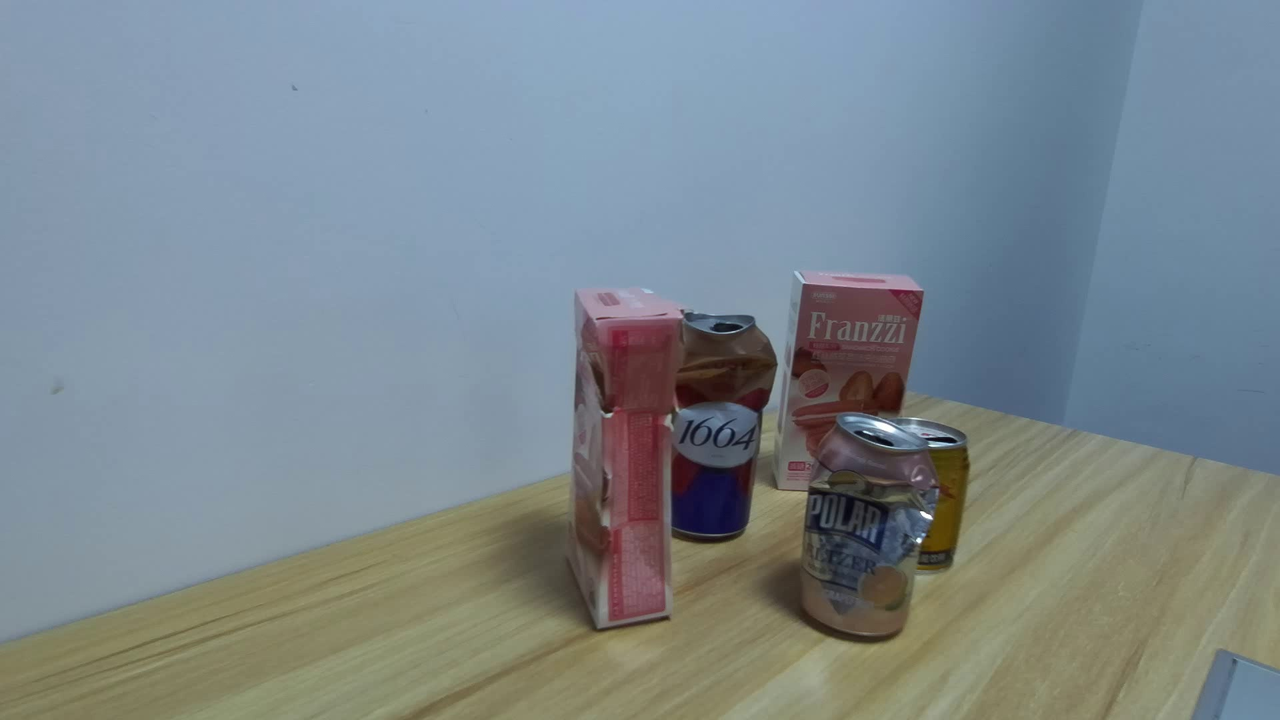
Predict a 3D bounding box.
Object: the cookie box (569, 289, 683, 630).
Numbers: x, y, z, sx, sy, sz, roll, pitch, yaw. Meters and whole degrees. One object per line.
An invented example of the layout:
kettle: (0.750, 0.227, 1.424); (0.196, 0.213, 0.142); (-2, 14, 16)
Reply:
cookie box: (-0.009, 0.055, 0.428); (0.059, 0.186, 0.104); (-2, 14, -14)

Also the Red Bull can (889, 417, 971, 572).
Red Bull can: (0.193, 0.095, 0.499); (0.069, 0.092, 0.069); (3, 12, 0)

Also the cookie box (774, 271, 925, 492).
cookie box: (0.176, 0.023, 0.594); (0.105, 0.187, 0.049); (4, 21, 5)

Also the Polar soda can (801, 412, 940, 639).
Polar soda can: (0.136, 0.098, 0.416); (0.070, 0.121, 0.067); (13, 10, 34)

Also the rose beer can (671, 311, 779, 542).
rose beer can: (0.052, 0.048, 0.519); (0.074, 0.162, 0.067); (-9, 19, -34)
